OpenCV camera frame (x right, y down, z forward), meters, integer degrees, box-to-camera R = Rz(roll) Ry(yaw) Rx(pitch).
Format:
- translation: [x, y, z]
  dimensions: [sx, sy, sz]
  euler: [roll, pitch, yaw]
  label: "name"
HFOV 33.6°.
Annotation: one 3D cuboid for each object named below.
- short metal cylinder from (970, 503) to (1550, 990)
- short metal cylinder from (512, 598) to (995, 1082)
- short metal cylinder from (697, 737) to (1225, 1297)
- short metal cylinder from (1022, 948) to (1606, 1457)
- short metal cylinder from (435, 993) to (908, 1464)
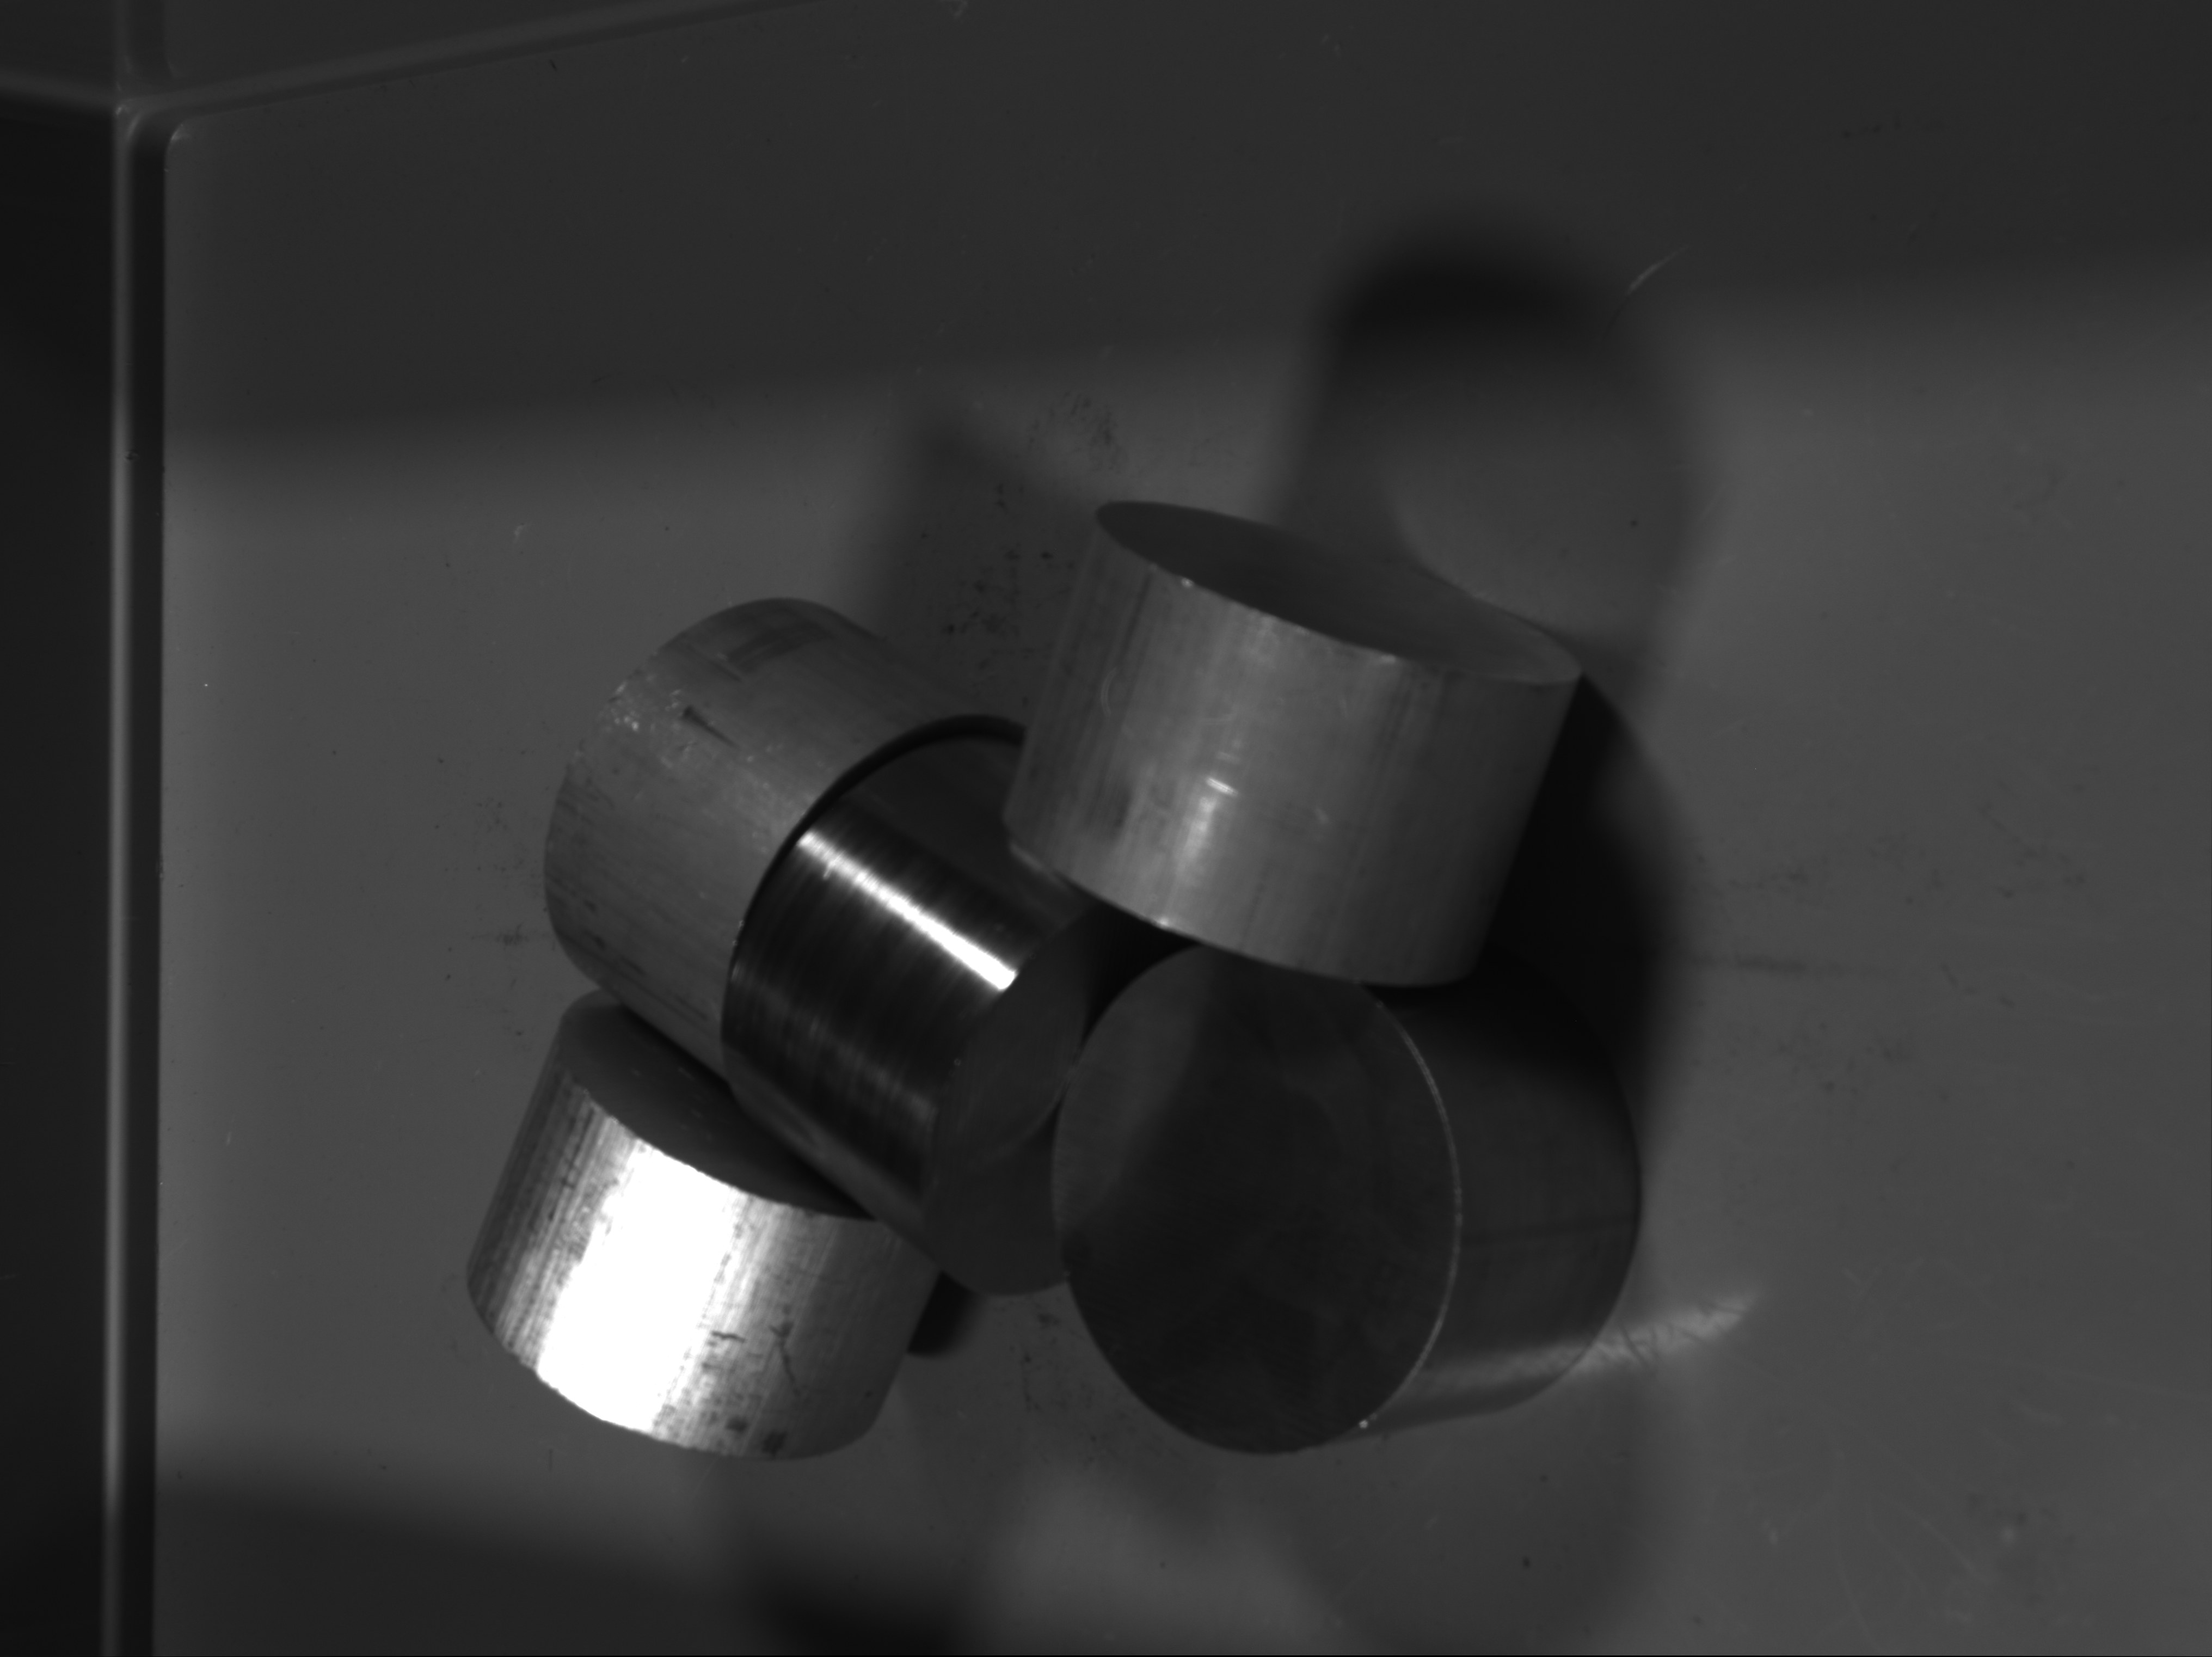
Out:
- translation: [0.024, -0.014, 0.580]
  dimensions: [0.080, 0.080, 0.050]
  euler: [29, 108, 36]
  label: "short metal cylinder"
- translation: [-0.057, 0.006, 0.646]
  dimensions: [0.050, 0.080, 0.080]
  euler: [32, 109, 35]
  label: "short metal cylinder"
- translation: [-0.022, 0.032, 0.618]
  dimensions: [0.050, 0.080, 0.080]
  euler: [33, 110, 35]
  label: "short metal cylinder"
- translation: [0.033, 0.058, 0.591]
  dimensions: [0.080, 0.050, 0.080]
  euler: [0, 90, 39]
  label: "short metal cylinder"
- translation: [-0.075, 0.070, 0.660]
  dimensions: [0.080, 0.080, 0.050]
  euler: [36, 112, 34]
  label: "short metal cylinder"
